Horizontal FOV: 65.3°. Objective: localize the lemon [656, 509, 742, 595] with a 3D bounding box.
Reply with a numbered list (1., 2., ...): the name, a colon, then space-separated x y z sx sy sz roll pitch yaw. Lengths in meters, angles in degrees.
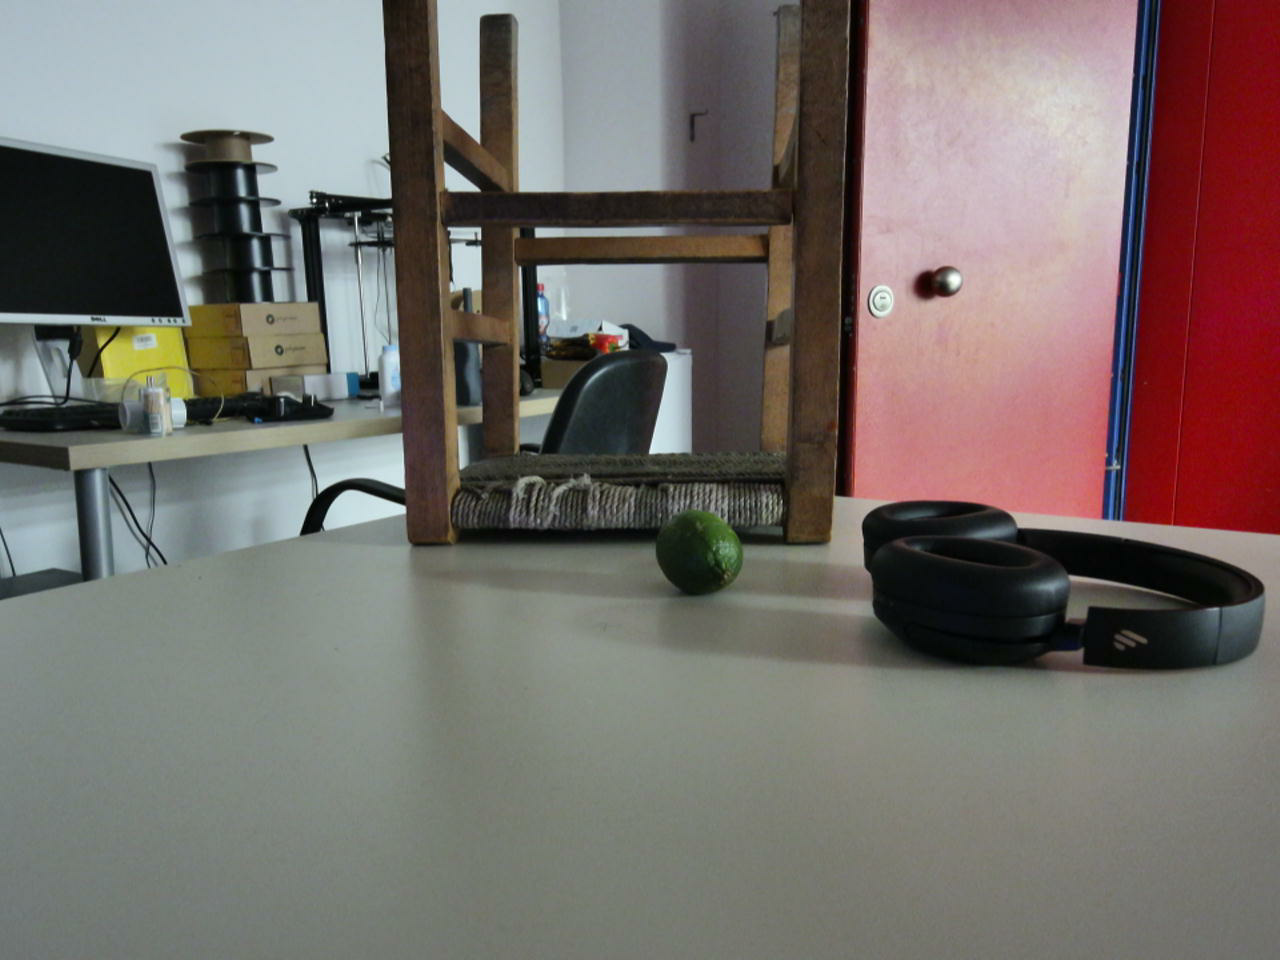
1. lemon: 0.037 0.044 0.623 0.057 0.051 0.054 4 8 31
